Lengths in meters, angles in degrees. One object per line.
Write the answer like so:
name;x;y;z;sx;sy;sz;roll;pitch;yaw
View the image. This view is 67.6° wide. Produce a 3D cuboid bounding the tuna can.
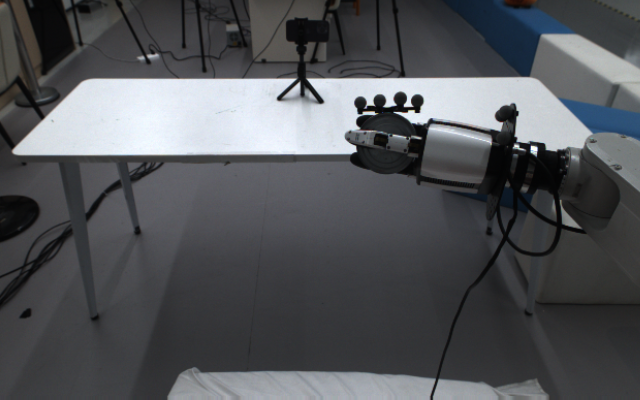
tuna can;0.098;-0.076;0.681;0.085;0.085;0.034;12;8;14
